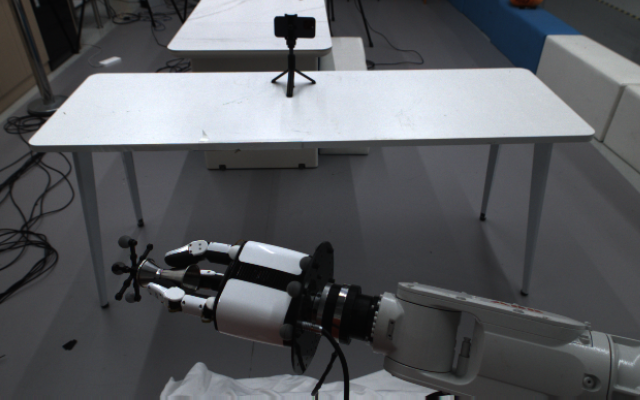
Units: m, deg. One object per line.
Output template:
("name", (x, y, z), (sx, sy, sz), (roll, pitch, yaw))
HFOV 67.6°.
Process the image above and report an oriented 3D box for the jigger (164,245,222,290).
("jigger", (-0.189, 0.098, 0.629), (0.071, 0.043, 0.043), (6, 35, 15))
